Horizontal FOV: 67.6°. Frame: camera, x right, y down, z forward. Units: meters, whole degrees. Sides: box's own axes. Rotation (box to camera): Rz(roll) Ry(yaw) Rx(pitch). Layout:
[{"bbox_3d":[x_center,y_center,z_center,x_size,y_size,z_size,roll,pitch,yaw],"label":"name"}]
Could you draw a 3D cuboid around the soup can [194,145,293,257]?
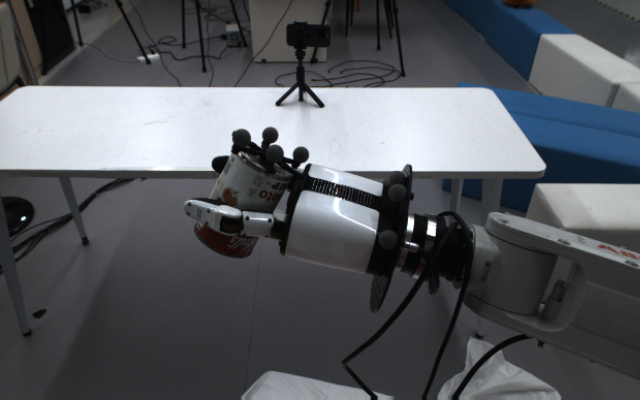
[{"bbox_3d":[-0.078,0.002,0.504,0.067,0.101,0.067,27,18,-9],"label":"soup can"}]
